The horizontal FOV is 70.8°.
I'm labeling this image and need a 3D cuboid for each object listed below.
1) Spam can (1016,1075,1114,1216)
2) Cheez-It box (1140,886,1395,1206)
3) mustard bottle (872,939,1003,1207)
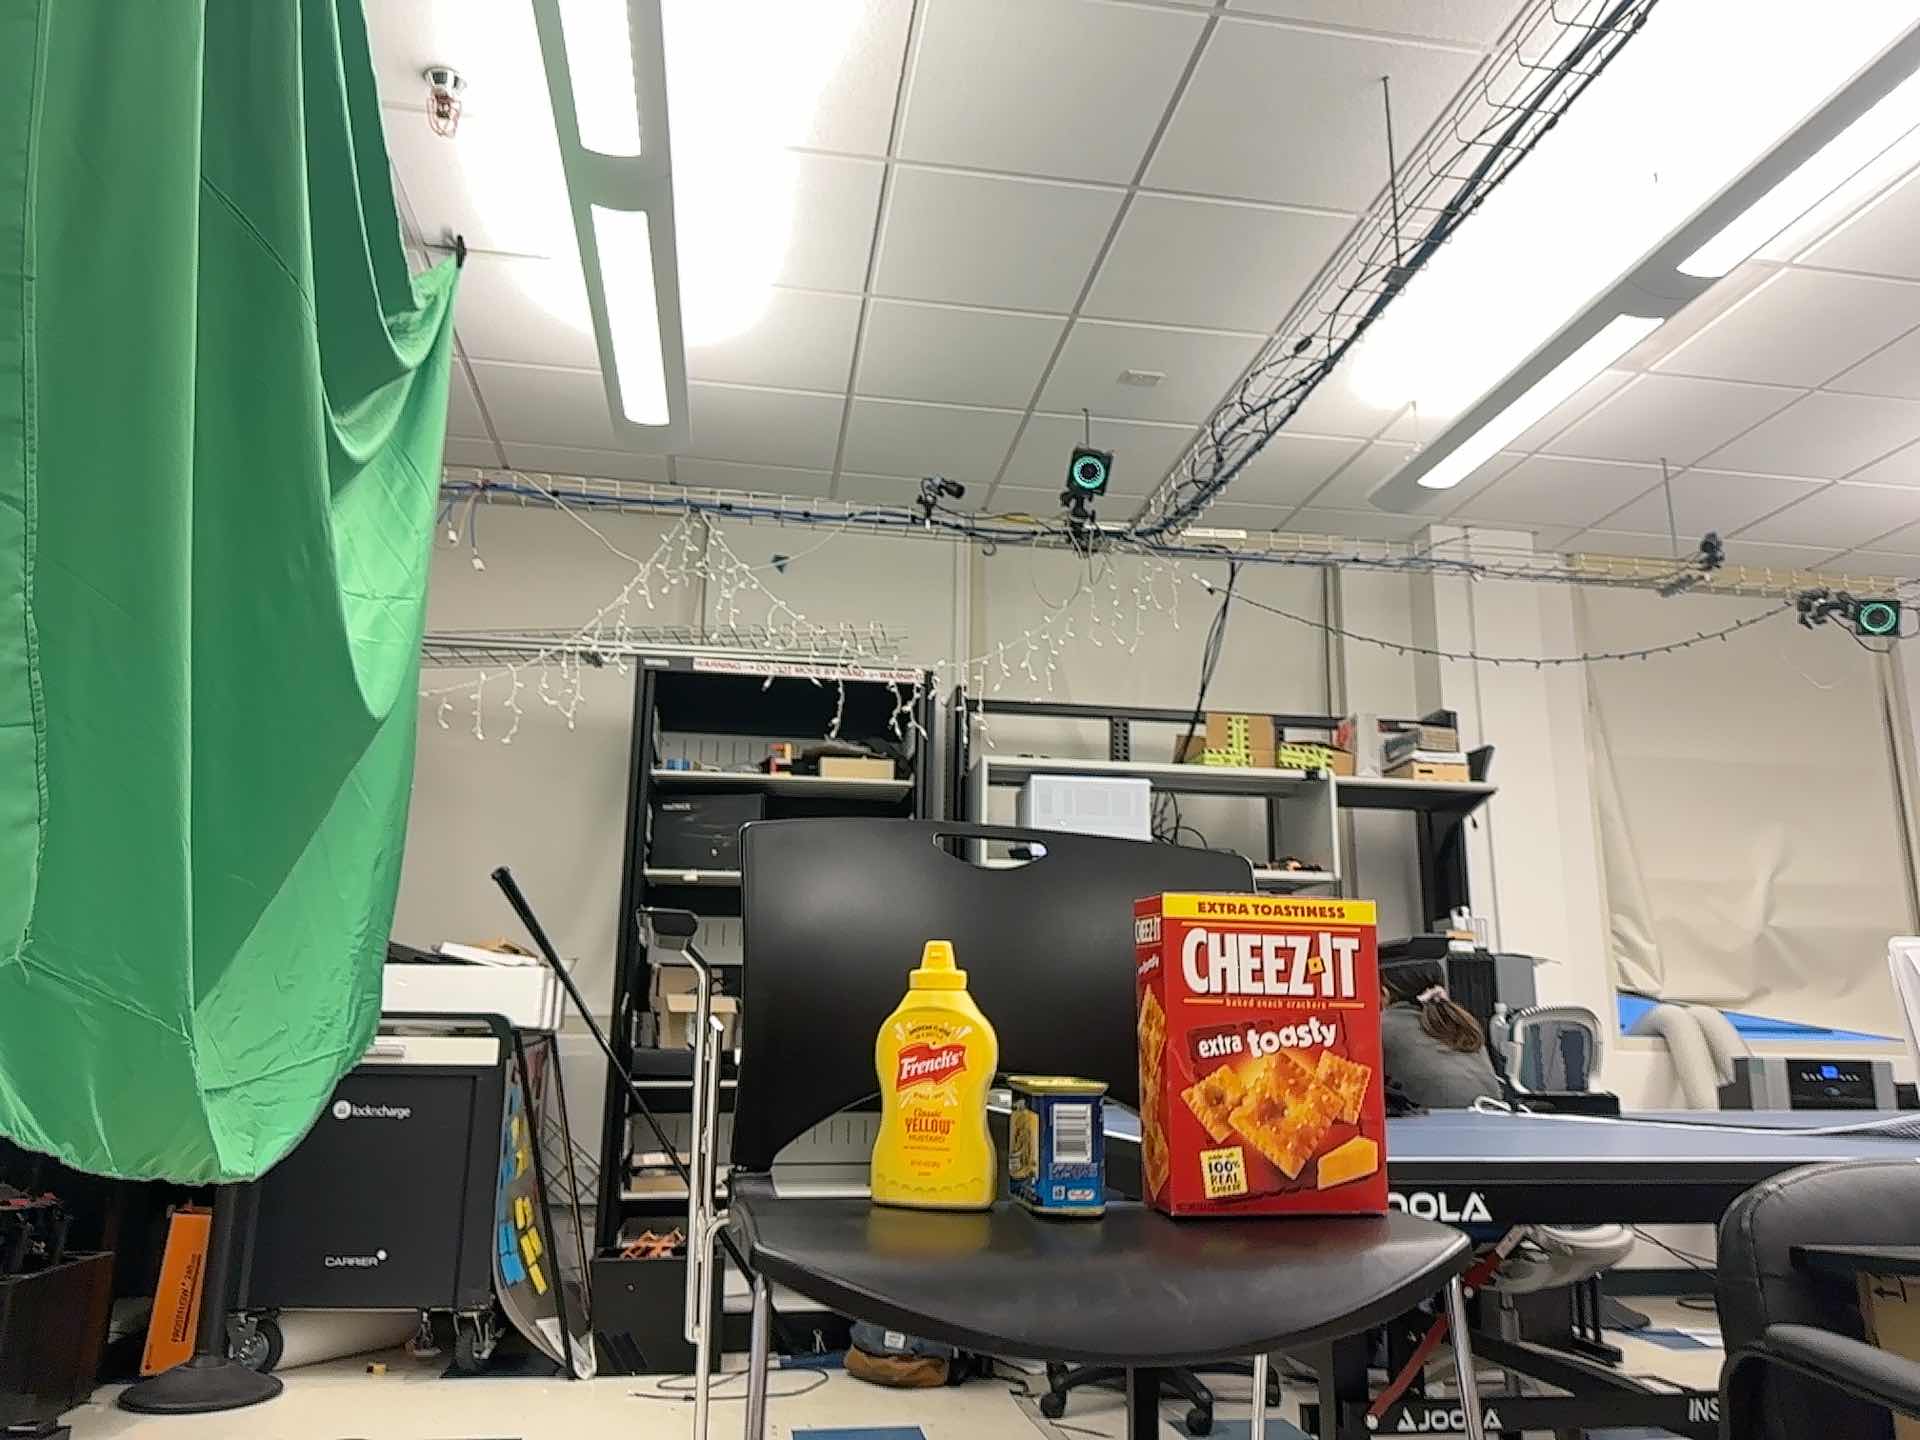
[{"bbox_3d":[0.072,0.303,0.970,0.056,0.083,0.100,4,-11,-6],"label":"Spam can"},{"bbox_3d":[0.222,0.235,0.987,0.159,0.214,0.062,2,-13,-8],"label":"Cheez-It box"},{"bbox_3d":[-0.015,0.250,0.972,0.092,0.184,0.054,1,-11,8],"label":"mustard bottle"}]
